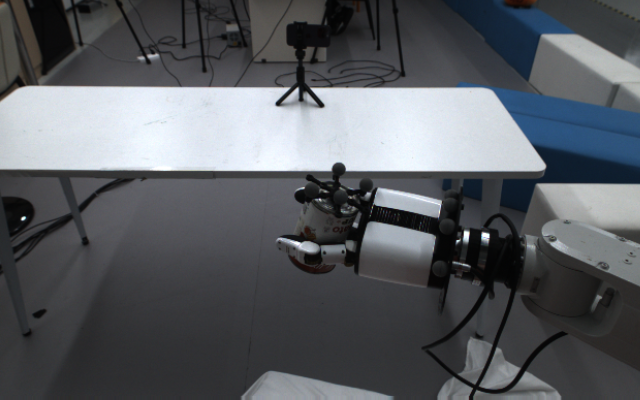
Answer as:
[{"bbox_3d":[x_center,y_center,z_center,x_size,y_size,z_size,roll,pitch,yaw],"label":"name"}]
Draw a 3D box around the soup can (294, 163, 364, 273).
[{"bbox_3d":[0.005,0.036,0.613,0.067,0.101,0.067,14,35,-10],"label":"soup can"}]
